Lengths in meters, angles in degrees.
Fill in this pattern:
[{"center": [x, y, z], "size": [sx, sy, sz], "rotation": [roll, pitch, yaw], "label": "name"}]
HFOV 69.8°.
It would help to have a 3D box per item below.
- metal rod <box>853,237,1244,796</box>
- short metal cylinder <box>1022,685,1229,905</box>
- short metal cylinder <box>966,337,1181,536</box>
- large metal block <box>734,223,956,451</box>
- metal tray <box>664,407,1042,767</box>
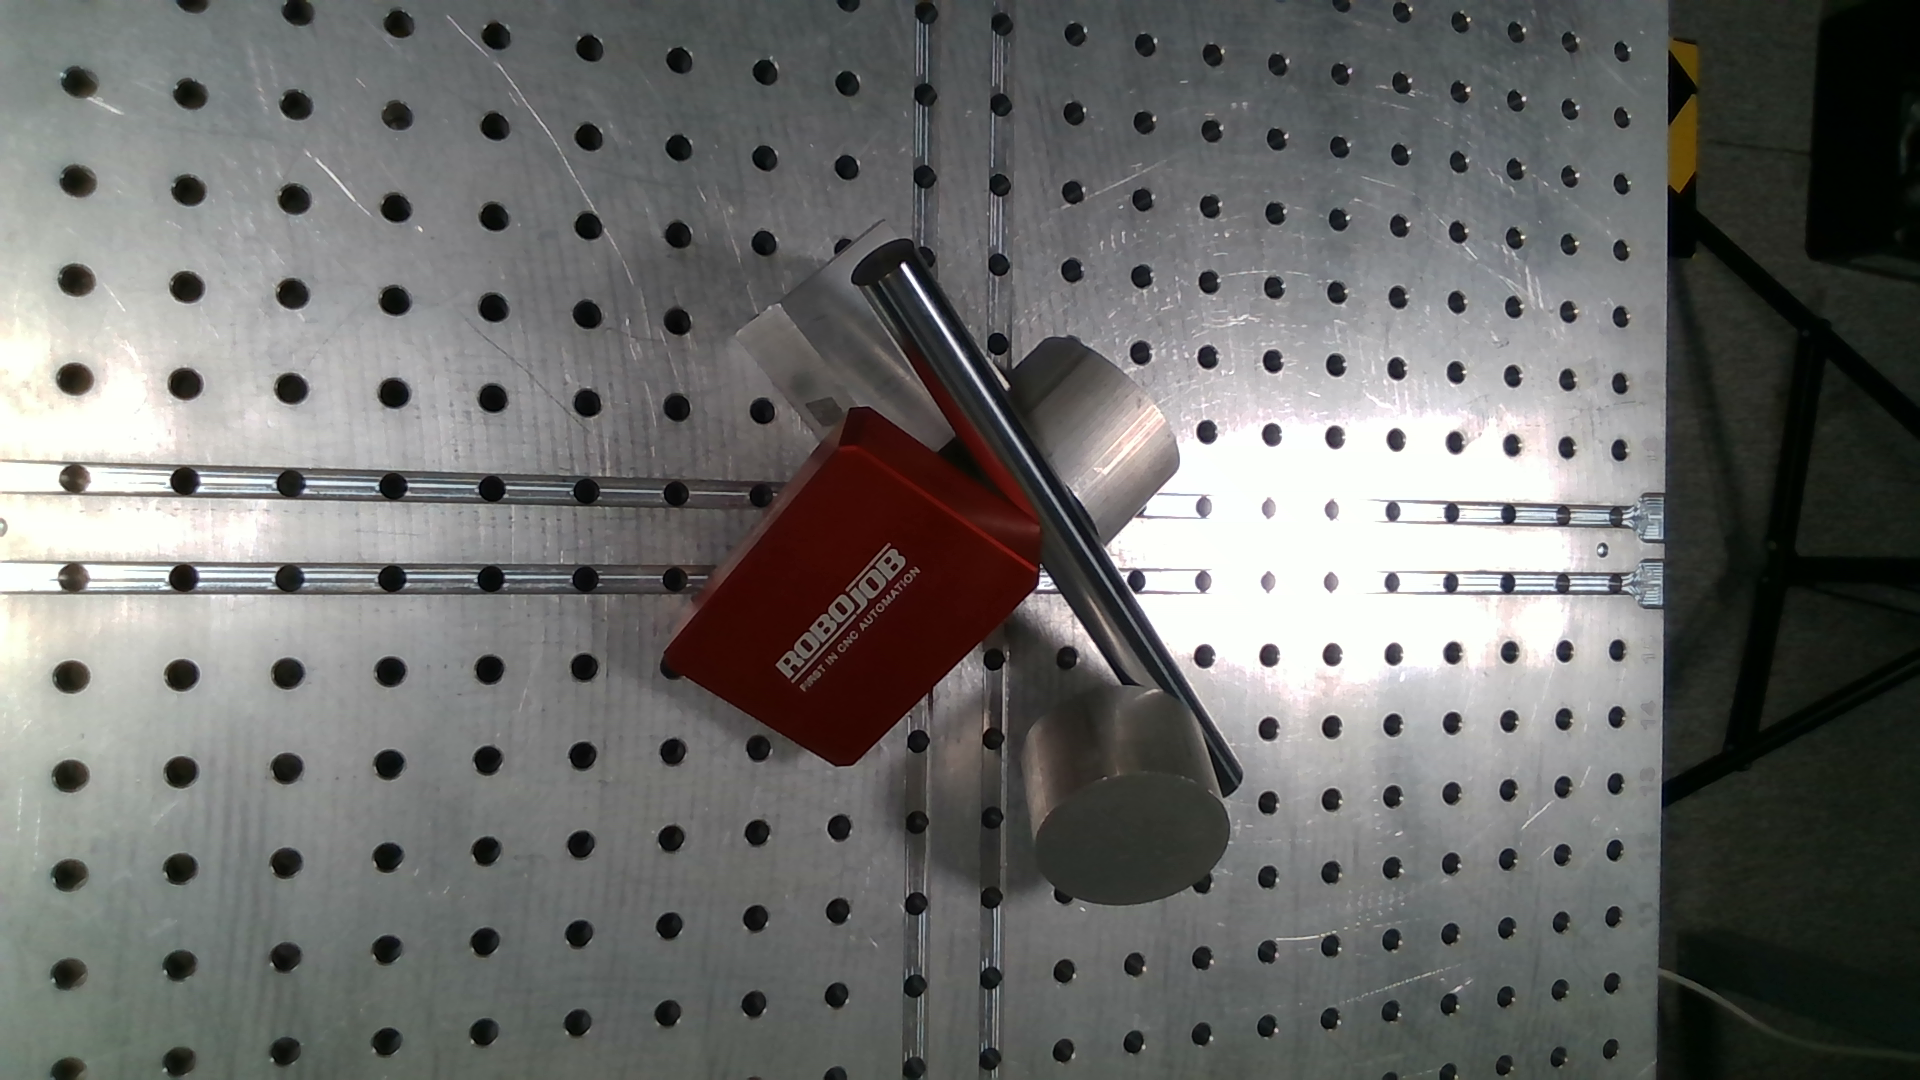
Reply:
[{"center": [0.047, 0.007, 0.549], "size": [0.025, 0.025, 0.301], "rotation": [-45, 126, -15], "label": "metal rod"}, {"center": [0.068, 0.108, 0.580], "size": [0.080, 0.050, 0.080], "rotation": [-2, 127, -3], "label": "short metal cylinder"}, {"center": [0.045, -0.038, 0.575], "size": [0.050, 0.080, 0.080], "rotation": [-46, 104, -15], "label": "short metal cylinder"}, {"center": [-0.037, -0.069, 0.545], "size": [0.050, 0.080, 0.080], "rotation": [-42, 103, -15], "label": "large metal block"}, {"center": [-0.041, 0.022, 0.528], "size": [0.090, 0.030, 0.130], "rotation": [34, 121, -17], "label": "metal tray"}]
